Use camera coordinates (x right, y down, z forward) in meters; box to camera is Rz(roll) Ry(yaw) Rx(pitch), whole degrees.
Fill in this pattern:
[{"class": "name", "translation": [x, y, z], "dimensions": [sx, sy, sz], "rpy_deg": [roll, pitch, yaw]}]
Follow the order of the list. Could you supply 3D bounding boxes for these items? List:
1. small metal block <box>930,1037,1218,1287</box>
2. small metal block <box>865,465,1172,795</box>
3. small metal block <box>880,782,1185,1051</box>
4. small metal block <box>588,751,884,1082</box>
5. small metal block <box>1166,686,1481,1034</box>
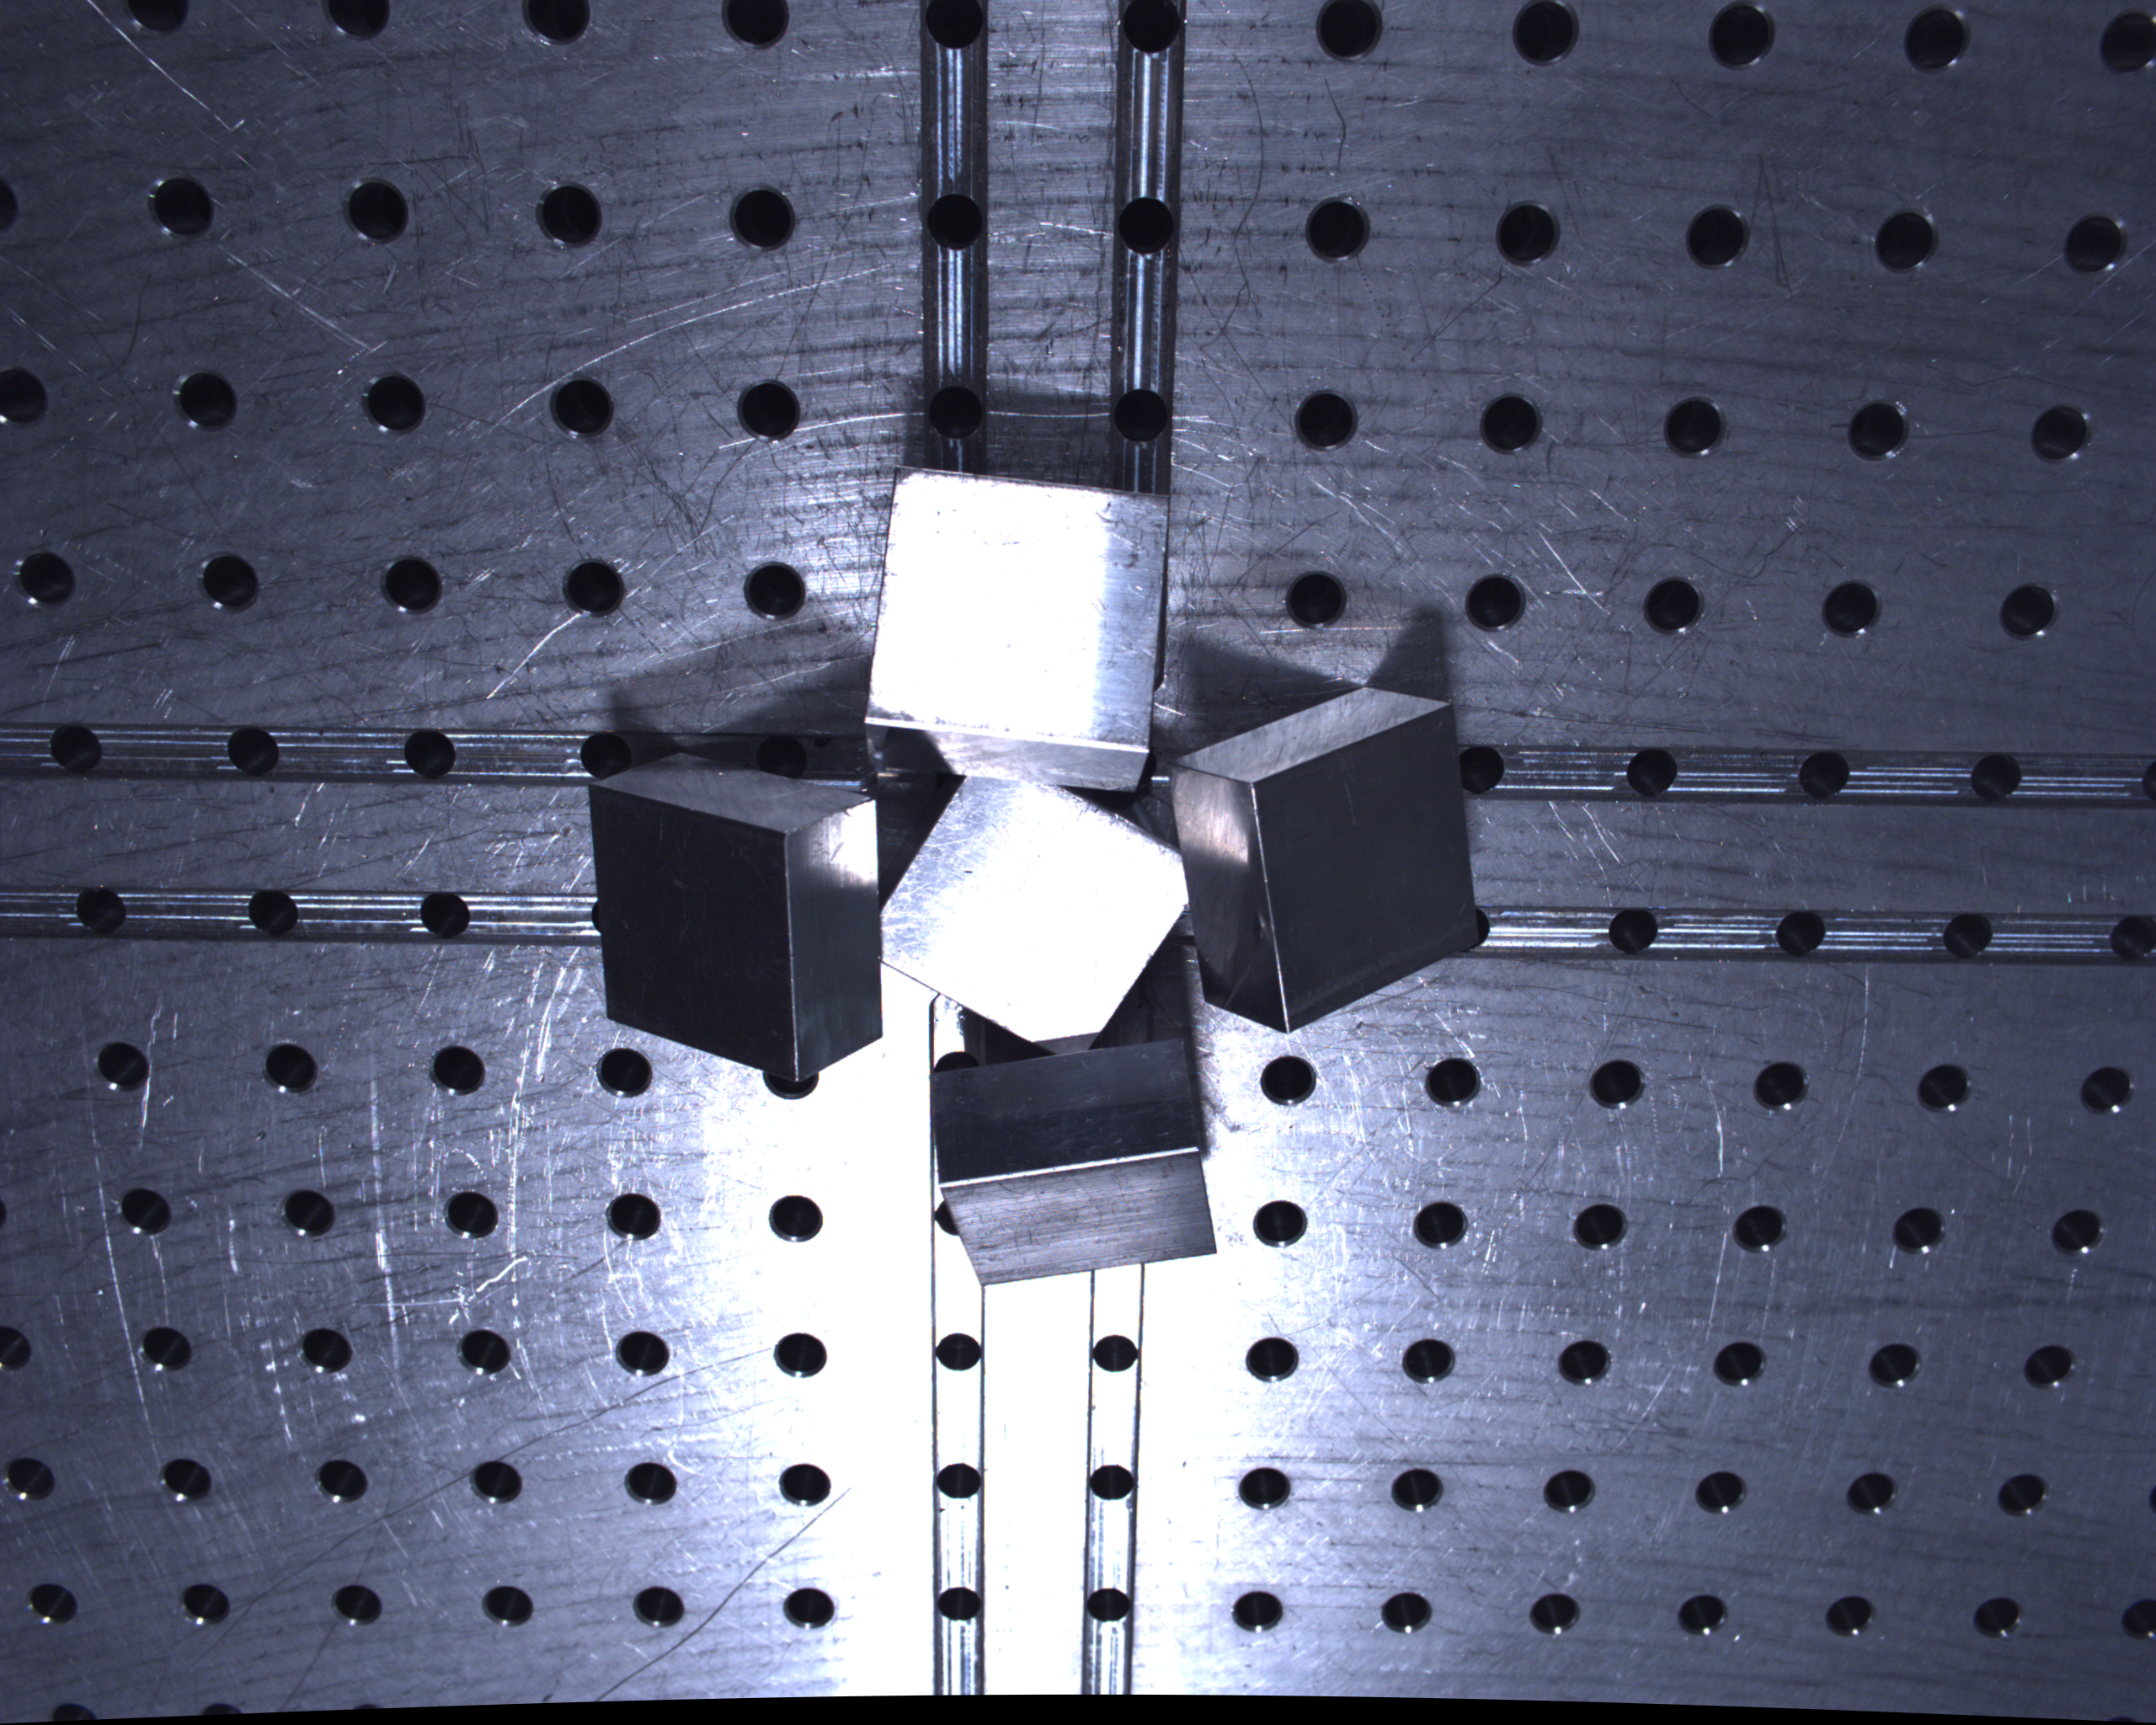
[{"class": "small metal block", "translation": [0.000, 0.062, 0.423], "dimensions": [0.050, 0.025, 0.050], "rpy_deg": [-8, 146, 3]}, {"class": "small metal block", "translation": [-0.011, -0.042, 0.384], "dimensions": [0.050, 0.025, 0.050], "rpy_deg": [6, 74, -3]}, {"class": "small metal block", "translation": [-0.009, 0.005, 0.415], "dimensions": [0.050, 0.025, 0.050], "rpy_deg": [30, 107, -11]}, {"class": "small metal block", "translation": [-0.066, 0.009, 0.404], "dimensions": [0.050, 0.025, 0.050], "rpy_deg": [13, 114, 32]}, {"class": "small metal block", "translation": [0.048, -0.002, 0.401], "dimensions": [0.050, 0.025, 0.050], "rpy_deg": [-22, 113, -30]}]
